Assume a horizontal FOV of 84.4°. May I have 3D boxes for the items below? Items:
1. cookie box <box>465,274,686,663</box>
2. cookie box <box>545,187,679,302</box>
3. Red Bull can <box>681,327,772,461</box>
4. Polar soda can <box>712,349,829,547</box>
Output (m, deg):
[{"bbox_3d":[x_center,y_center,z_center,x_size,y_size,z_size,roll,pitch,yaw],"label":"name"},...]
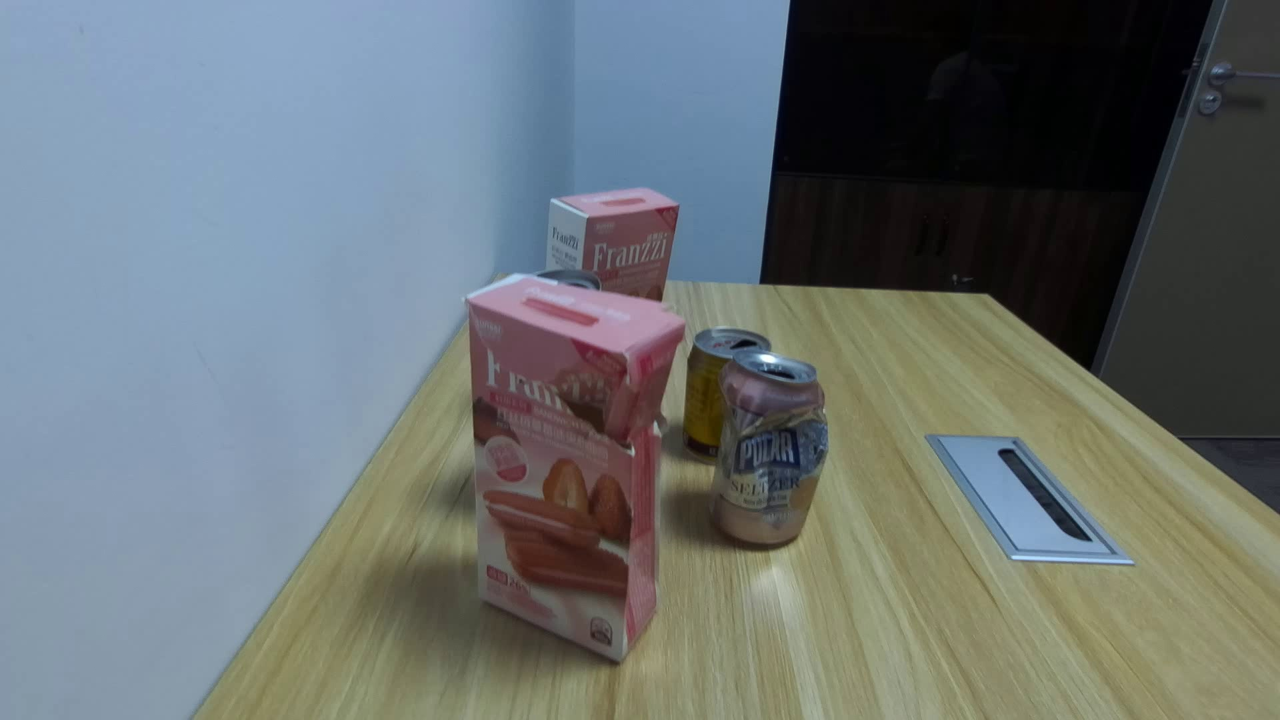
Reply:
[{"bbox_3d":[-0.036,0.057,0.368,0.104,0.186,0.059,16,29,25],"label":"cookie box"},{"bbox_3d":[-0.024,-0.045,0.592,0.105,0.187,0.048,-19,40,-37],"label":"cookie box"},{"bbox_3d":[0.070,0.028,0.556,0.069,0.092,0.069,2,27,0],"label":"Red Bull can"},{"bbox_3d":[0.084,0.056,0.462,0.071,0.122,0.066,-1,19,-9],"label":"Polar soda can"}]
